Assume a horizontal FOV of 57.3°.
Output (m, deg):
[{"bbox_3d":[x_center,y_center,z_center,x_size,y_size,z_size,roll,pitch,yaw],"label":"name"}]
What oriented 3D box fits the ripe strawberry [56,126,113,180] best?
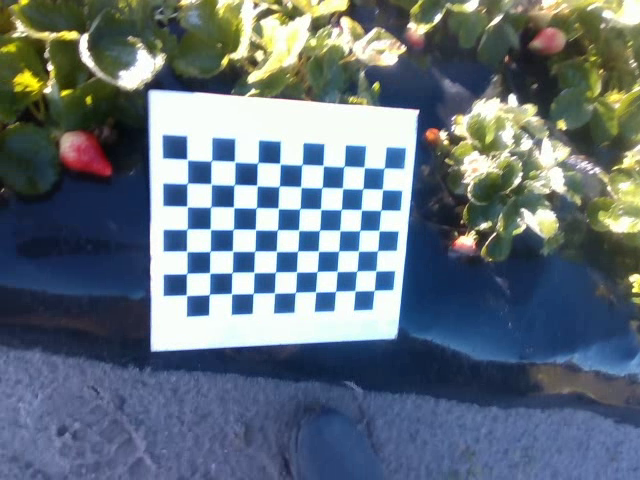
[{"bbox_3d":[-0.248,-0.084,0.616,0.065,0.040,0.040,43,-5,-20],"label":"ripe strawberry"}]
